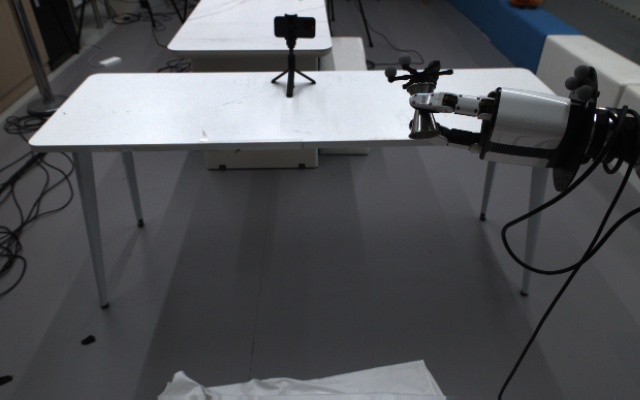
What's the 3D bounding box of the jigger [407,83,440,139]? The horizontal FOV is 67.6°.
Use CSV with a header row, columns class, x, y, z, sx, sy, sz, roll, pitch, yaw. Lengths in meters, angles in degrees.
class,x,y,z,sx,sy,sz,roll,pitch,yaw
jigger,0.140,-0.123,0.662,0.043,0.071,0.043,-3,-7,0
